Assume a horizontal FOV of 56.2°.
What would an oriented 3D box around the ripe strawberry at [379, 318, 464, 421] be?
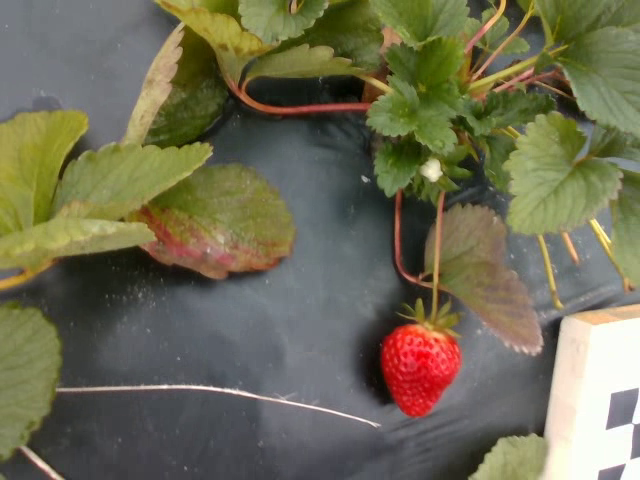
[{"bbox_3d":[0.031,0.041,0.183,0.029,0.032,0.022,13,5,-21],"label":"ripe strawberry"}]
